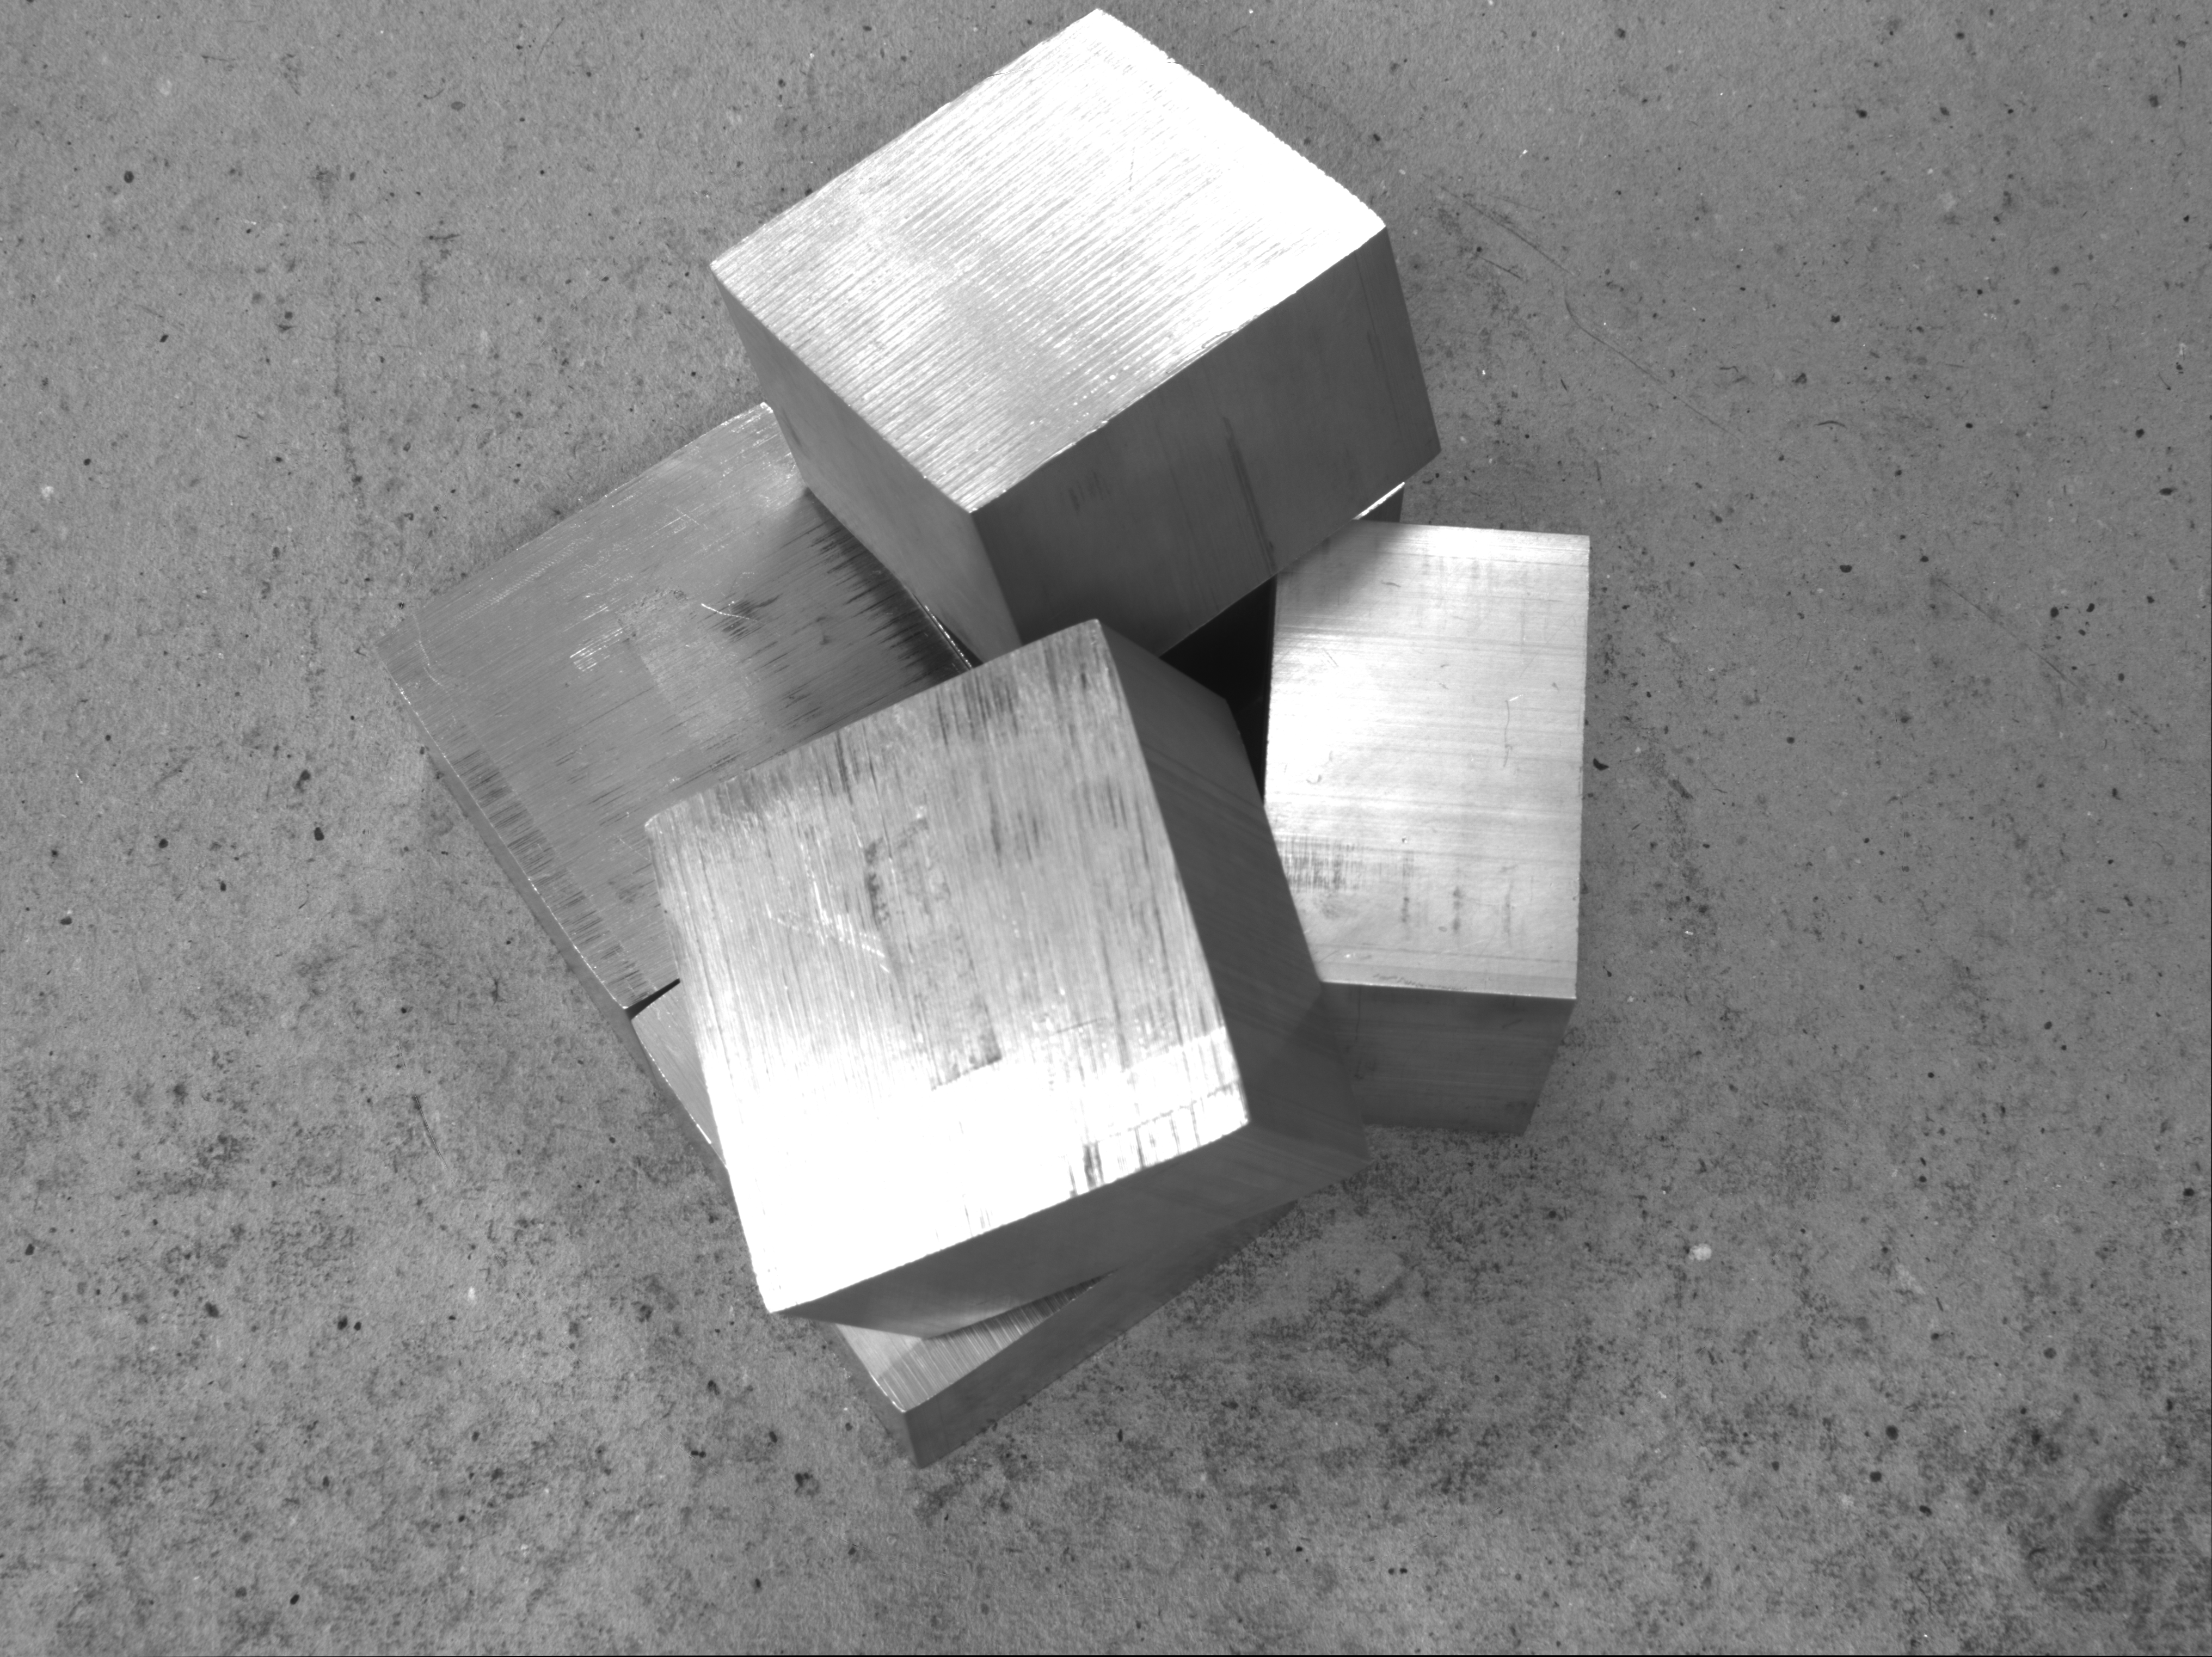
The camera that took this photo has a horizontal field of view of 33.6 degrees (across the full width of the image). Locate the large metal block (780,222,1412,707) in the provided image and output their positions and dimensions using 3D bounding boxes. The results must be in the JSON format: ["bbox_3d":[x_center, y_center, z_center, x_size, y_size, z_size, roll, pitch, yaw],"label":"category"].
[{"bbox_3d":[-0.004,-0.059,0.652,0.080,0.050,0.080,-34,73,-13],"label":"large metal block"}]

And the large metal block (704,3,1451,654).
[{"bbox_3d":[-0.004,-0.076,0.589,0.080,0.050,0.080,-35,51,-12],"label":"large metal block"}]

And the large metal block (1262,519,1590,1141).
[{"bbox_3d":[0.051,0.002,0.615,0.050,0.080,0.080,3,70,2],"label":"large metal block"}]

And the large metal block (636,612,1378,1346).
[{"bbox_3d":[-0.015,0.025,0.553,0.080,0.050,0.080,-23,70,18],"label":"large metal block"}]

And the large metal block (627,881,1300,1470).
[{"bbox_3d":[-0.022,0.048,0.615,0.080,0.050,0.080,-34,73,-12],"label":"large metal block"}]

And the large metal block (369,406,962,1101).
[{"bbox_3d":[-0.068,-0.013,0.637,0.080,0.050,0.080,-34,74,-12],"label":"large metal block"}]
